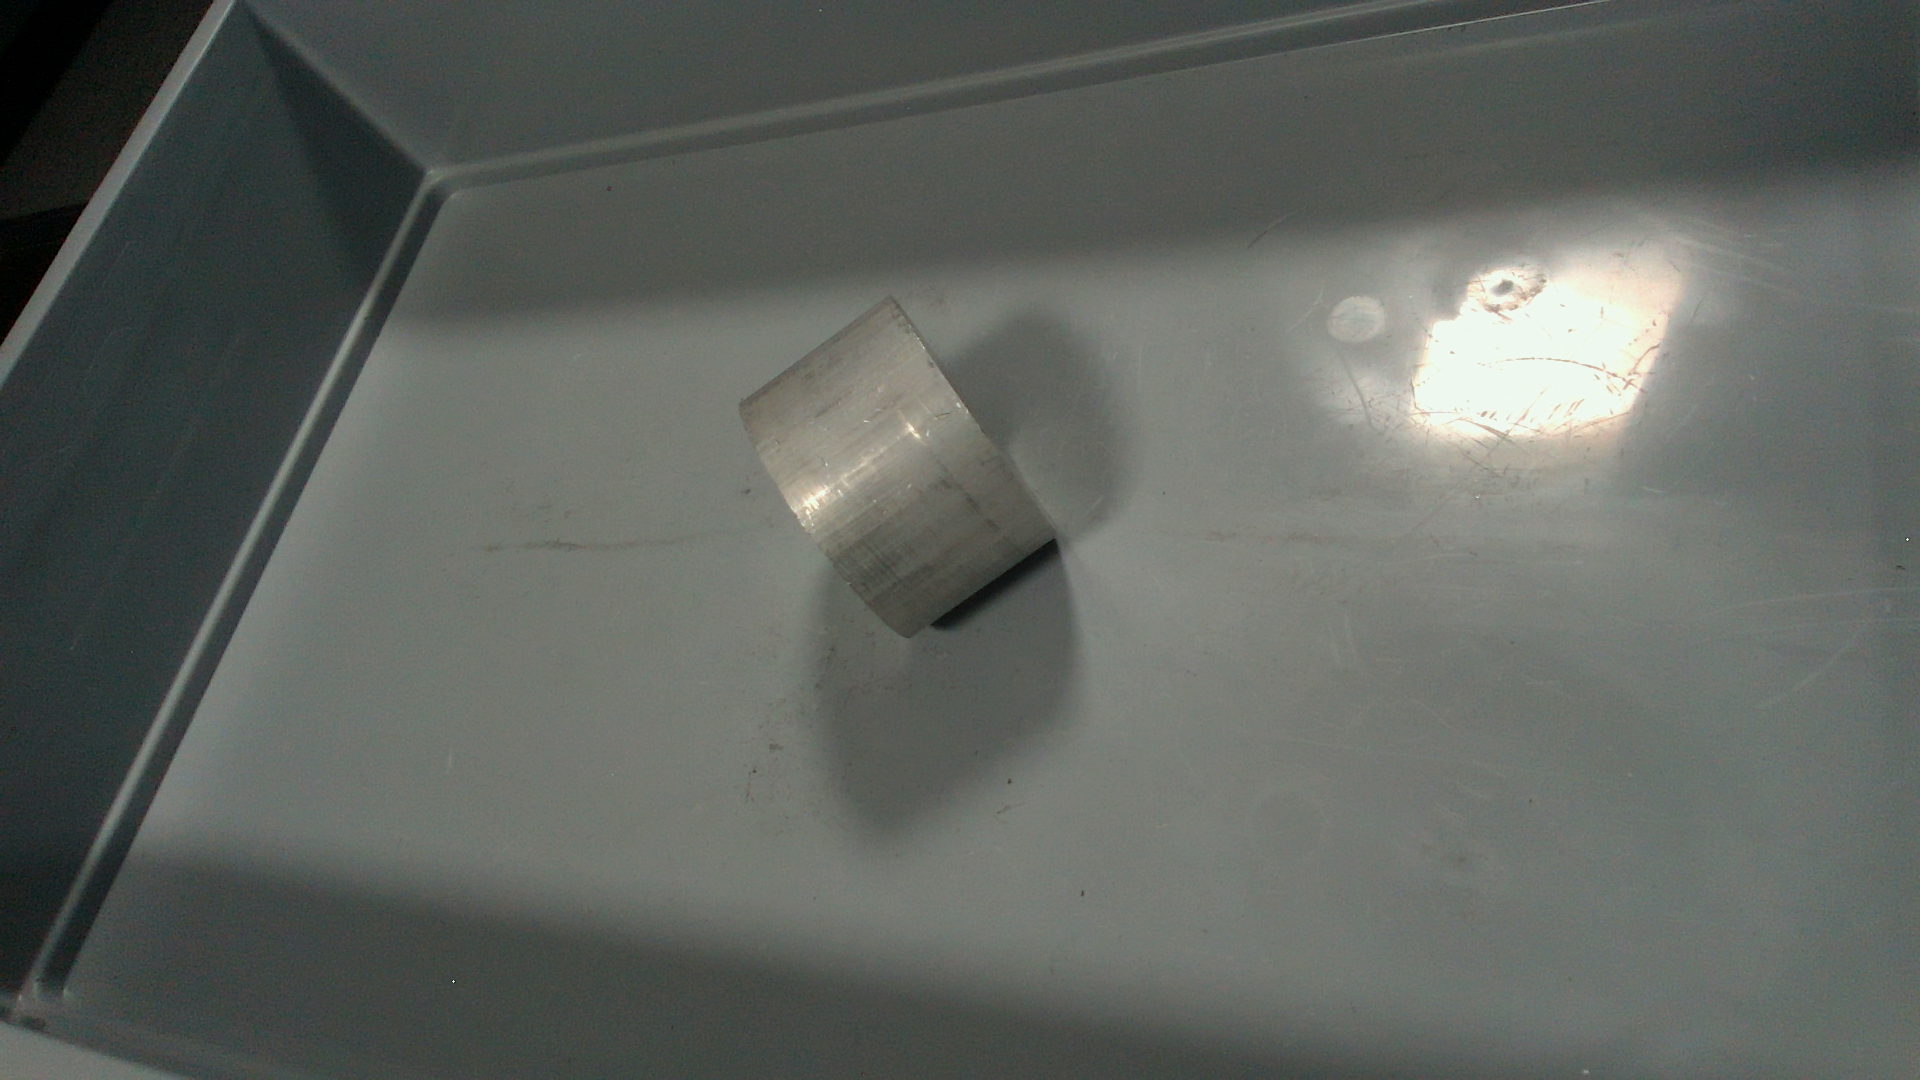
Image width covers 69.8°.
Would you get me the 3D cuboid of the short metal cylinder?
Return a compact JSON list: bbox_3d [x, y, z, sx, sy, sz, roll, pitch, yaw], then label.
[{"bbox_3d":[-0.016,-0.020,0.377,0.050,0.080,0.080,-36,51,5],"label":"short metal cylinder"}]
